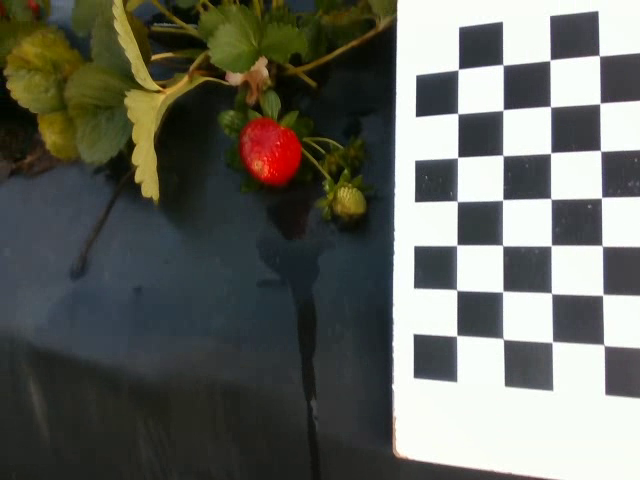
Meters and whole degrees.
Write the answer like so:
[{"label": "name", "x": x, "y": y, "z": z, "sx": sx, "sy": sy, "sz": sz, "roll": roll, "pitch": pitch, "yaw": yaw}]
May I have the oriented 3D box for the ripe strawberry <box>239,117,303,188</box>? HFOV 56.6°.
[{"label": "ripe strawberry", "x": -0.034, "y": -0.054, "z": 0.381, "sx": 0.043, "sy": 0.052, "sz": 0.057, "roll": -28, "pitch": 16, "yaw": 22}]
